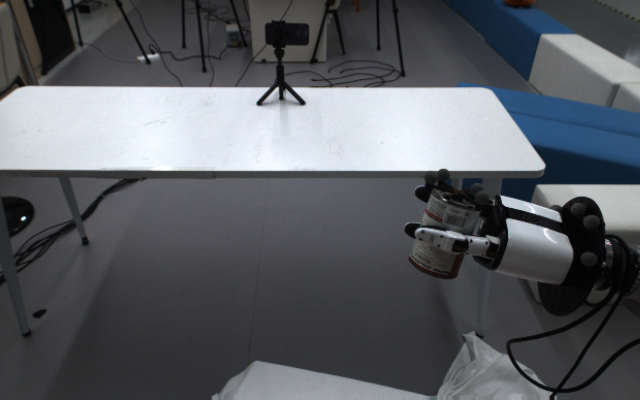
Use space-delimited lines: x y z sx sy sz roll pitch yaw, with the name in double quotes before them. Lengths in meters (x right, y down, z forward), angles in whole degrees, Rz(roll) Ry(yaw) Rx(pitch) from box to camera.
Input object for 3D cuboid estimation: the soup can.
"soup can" 0.165 0.042 0.634 0.067 0.101 0.067 13 18 -4
